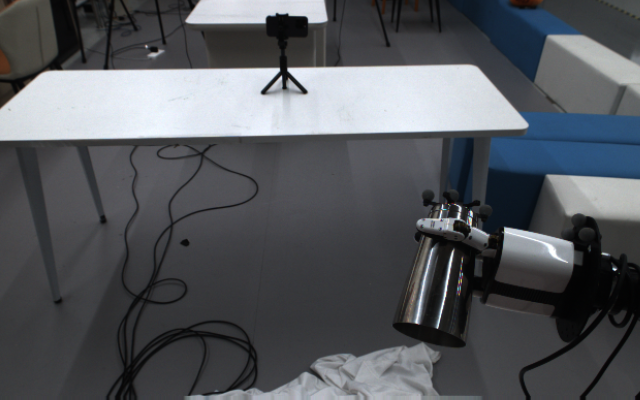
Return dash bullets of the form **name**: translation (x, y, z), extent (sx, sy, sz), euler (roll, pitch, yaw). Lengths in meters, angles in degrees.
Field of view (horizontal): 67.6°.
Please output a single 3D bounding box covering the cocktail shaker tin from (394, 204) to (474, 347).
- **cocktail shaker tin**: translation (0.161, 0.089, 0.630), extent (0.093, 0.093, 0.170), euler (13, 65, 15)
